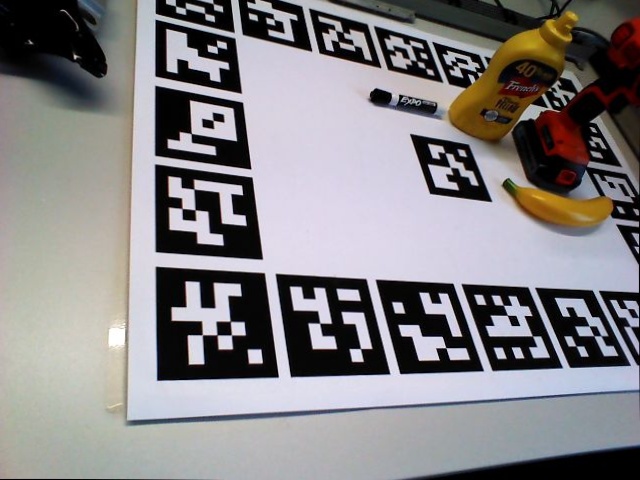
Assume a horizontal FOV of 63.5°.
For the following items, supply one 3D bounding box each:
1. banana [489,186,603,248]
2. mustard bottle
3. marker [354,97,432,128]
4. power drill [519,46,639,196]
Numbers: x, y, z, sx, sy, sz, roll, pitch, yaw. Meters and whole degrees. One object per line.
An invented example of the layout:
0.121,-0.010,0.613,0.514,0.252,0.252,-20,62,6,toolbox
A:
0.329,-0.025,0.735,0.197,0.039,0.074,12,57,-17,banana
0.254,-0.204,0.710,0.096,0.193,0.058,16,54,-18,mustard bottle
0.104,-0.181,0.732,0.121,0.020,0.019,8,58,-22,marker
0.365,-0.147,0.707,0.057,0.188,0.183,18,51,-17,power drill
